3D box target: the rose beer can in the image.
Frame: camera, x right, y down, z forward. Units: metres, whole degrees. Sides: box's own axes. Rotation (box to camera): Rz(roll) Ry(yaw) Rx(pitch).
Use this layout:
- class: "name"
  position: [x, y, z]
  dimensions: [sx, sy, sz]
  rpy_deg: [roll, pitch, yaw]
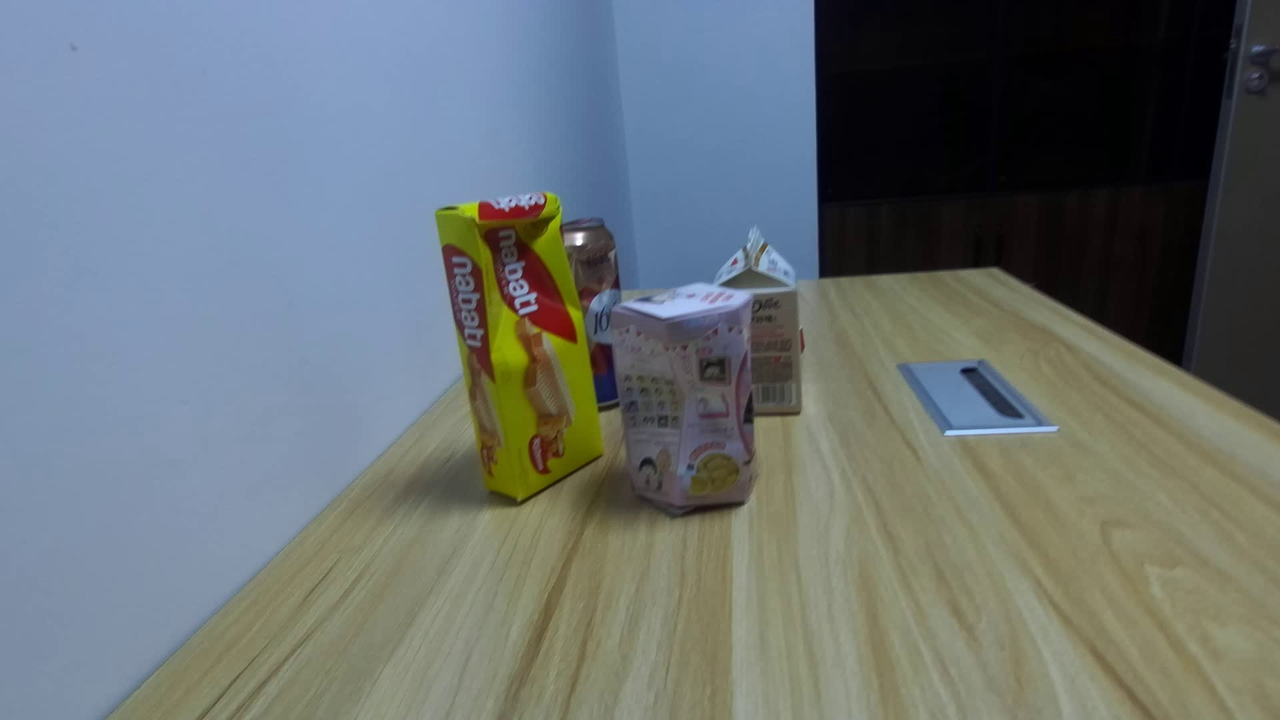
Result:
- class: "rose beer can"
  position: [-0.048, -0.039, 0.635]
  dimensions: [0.065, 0.167, 0.076]
  rpy_deg: [7, 23, 44]

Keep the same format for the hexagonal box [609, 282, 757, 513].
- class: "hexagonal box"
  position: [0.033, 0.025, 0.460]
  dimensions: [0.093, 0.134, 0.088]
  rpy_deg: [-10, 19, -15]

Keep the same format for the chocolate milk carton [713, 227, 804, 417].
- class: "chocolate milk carton"
  position: [0.098, -0.035, 0.598]
  dimensions: [0.074, 0.148, 0.075]
  rpy_deg: [-2, 18, 13]

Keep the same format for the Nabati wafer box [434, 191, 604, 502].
- class: "Nabati wafer box"
  position: [-0.079, -0.011, 0.497]
  dimensions: [0.042, 0.203, 0.097]
  rpy_deg: [7, 20, 40]
